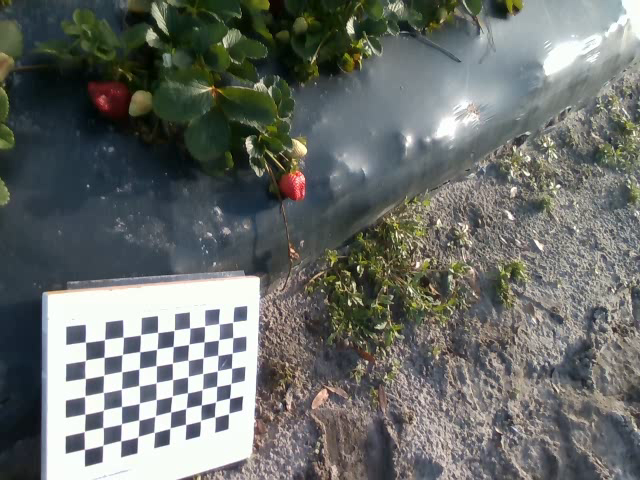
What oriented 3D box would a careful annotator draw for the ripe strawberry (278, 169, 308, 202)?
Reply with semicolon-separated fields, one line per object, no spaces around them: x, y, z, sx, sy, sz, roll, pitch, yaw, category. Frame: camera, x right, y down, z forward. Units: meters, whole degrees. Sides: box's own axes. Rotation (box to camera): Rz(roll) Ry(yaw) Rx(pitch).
-0.038;-0.083;0.906;0.048;0.050;0.035;-27;16;-32;ripe strawberry

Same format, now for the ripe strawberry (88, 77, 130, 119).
-0.298;-0.199;0.813;0.057;0.058;0.071;10;-1;27;ripe strawberry
